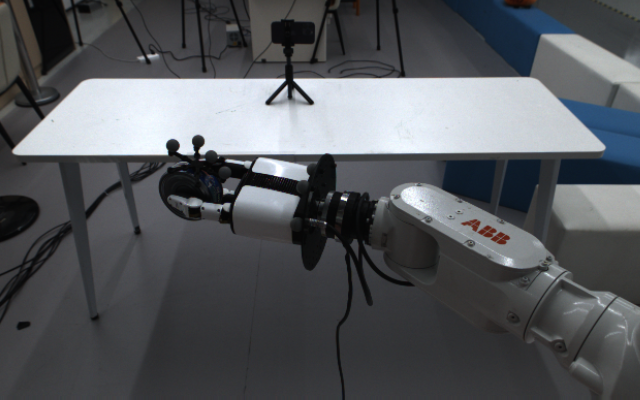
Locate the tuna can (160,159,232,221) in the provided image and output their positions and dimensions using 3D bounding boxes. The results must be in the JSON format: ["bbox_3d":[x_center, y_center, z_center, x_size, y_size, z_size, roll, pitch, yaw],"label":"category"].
[{"bbox_3d":[-0.183,-0.012,0.687,0.085,0.085,0.034,11,35,13],"label":"tuna can"}]
